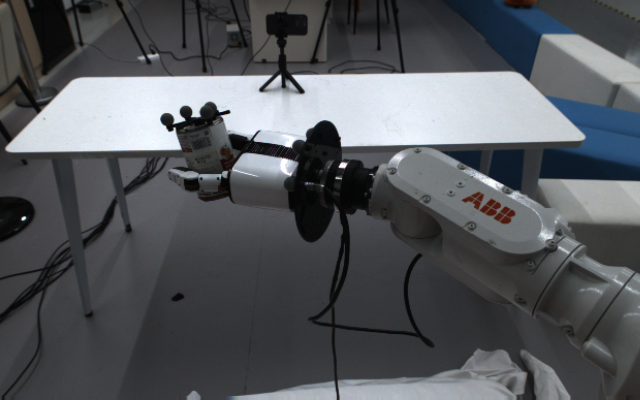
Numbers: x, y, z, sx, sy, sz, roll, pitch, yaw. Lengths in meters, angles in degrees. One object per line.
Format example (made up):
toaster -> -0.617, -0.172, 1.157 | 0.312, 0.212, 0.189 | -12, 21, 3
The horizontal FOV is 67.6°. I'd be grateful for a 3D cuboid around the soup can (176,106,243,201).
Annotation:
soup can -> -0.151, -0.057, 0.669 | 0.067, 0.101, 0.067 | -13, 20, 5
